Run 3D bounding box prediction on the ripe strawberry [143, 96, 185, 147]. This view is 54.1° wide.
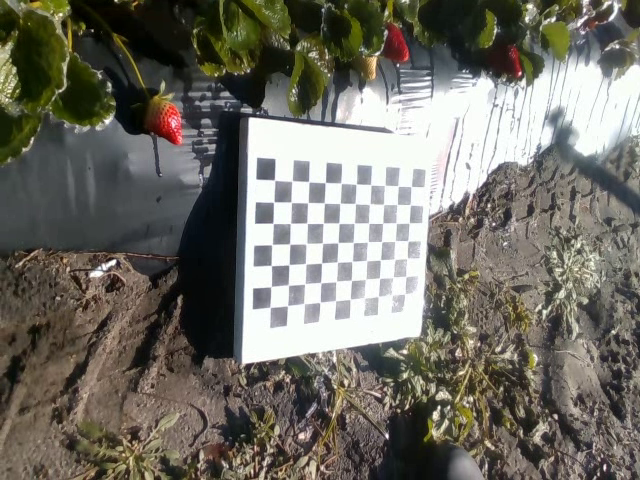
[{"bbox_3d":[-0.147,-0.112,0.596,0.039,0.053,0.041,-27,5,-31],"label":"ripe strawberry"}]
